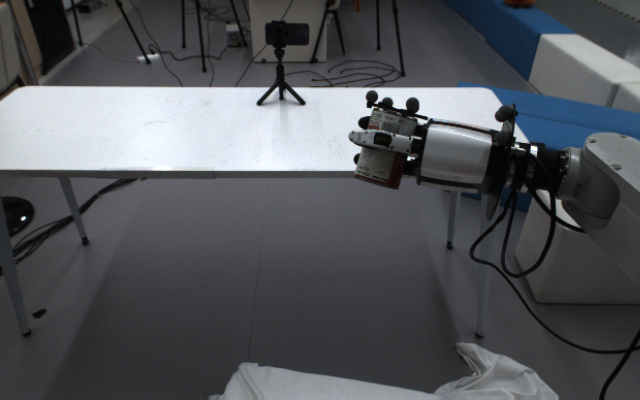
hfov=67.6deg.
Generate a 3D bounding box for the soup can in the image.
[{"bbox_3d":[0.094,-0.073,0.688,0.067,0.101,0.067,15,7,-2],"label":"soup can"}]
